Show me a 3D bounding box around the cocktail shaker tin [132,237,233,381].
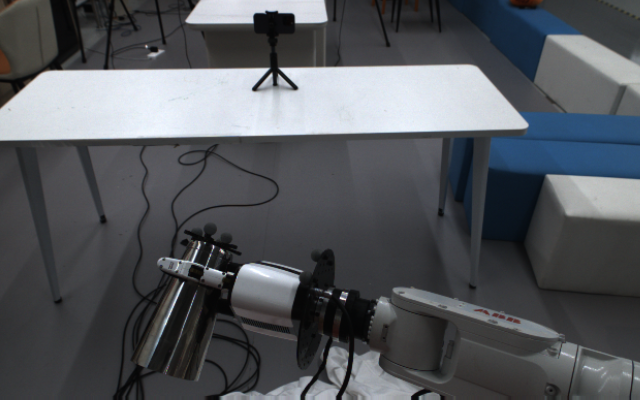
[{"bbox_3d":[-0.179,0.147,0.659,0.093,0.093,0.170,13,71,16],"label":"cocktail shaker tin"}]
